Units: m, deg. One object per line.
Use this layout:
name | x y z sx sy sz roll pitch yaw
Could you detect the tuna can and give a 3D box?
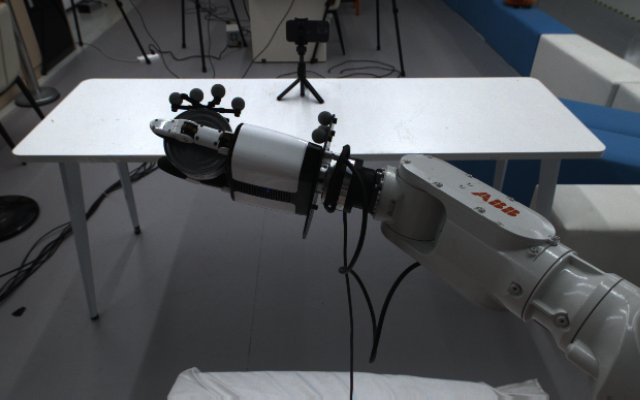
tuna can | -0.149 -0.069 0.606 0.085 0.034 0.085 0 74 -2
